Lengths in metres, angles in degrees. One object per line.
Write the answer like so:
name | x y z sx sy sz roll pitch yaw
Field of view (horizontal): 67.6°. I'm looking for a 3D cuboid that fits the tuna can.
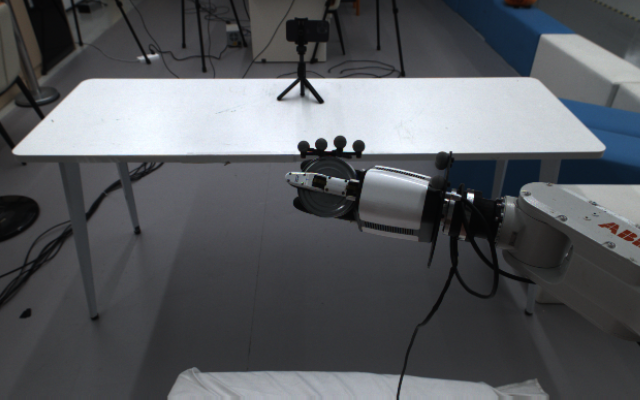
tuna can | 0.015 -0.019 0.681 0.085 0.085 0.034 12 0 14
